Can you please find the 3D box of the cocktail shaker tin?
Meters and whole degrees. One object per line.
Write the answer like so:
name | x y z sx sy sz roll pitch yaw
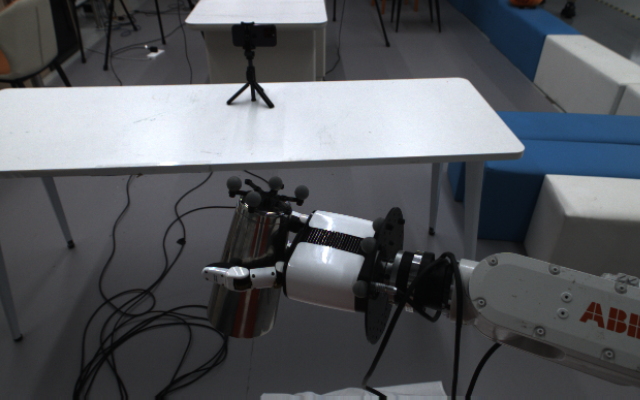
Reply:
cocktail shaker tin | -0.082 0.076 0.609 0.093 0.170 0.093 11 24 -5
